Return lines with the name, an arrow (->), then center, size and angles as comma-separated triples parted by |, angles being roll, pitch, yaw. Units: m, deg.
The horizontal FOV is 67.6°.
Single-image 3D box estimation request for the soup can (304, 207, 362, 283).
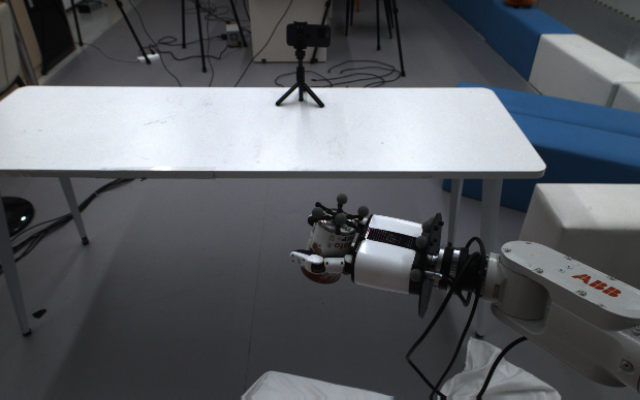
soup can -> 0.014, 0.072, 0.760 | 0.067, 0.101, 0.067 | 13, 30, -8
